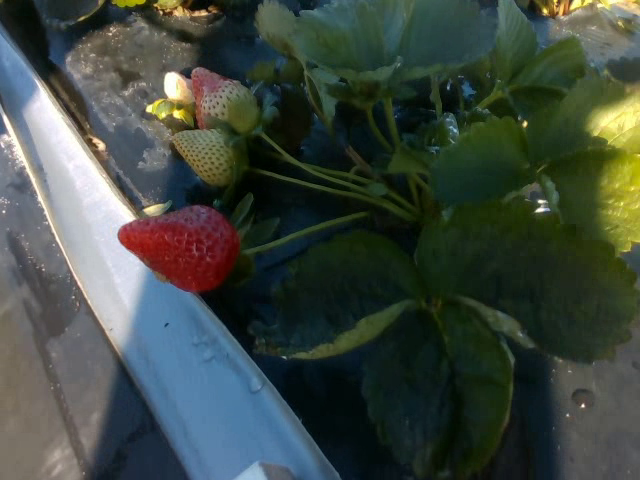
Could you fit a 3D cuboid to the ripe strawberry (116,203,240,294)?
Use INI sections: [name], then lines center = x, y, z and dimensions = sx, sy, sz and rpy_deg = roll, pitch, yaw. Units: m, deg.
[ripe strawberry]
center = -0.049, 0.001, 0.207
dimensions = 0.045, 0.038, 0.036
rpy_deg = 22, 24, -45
